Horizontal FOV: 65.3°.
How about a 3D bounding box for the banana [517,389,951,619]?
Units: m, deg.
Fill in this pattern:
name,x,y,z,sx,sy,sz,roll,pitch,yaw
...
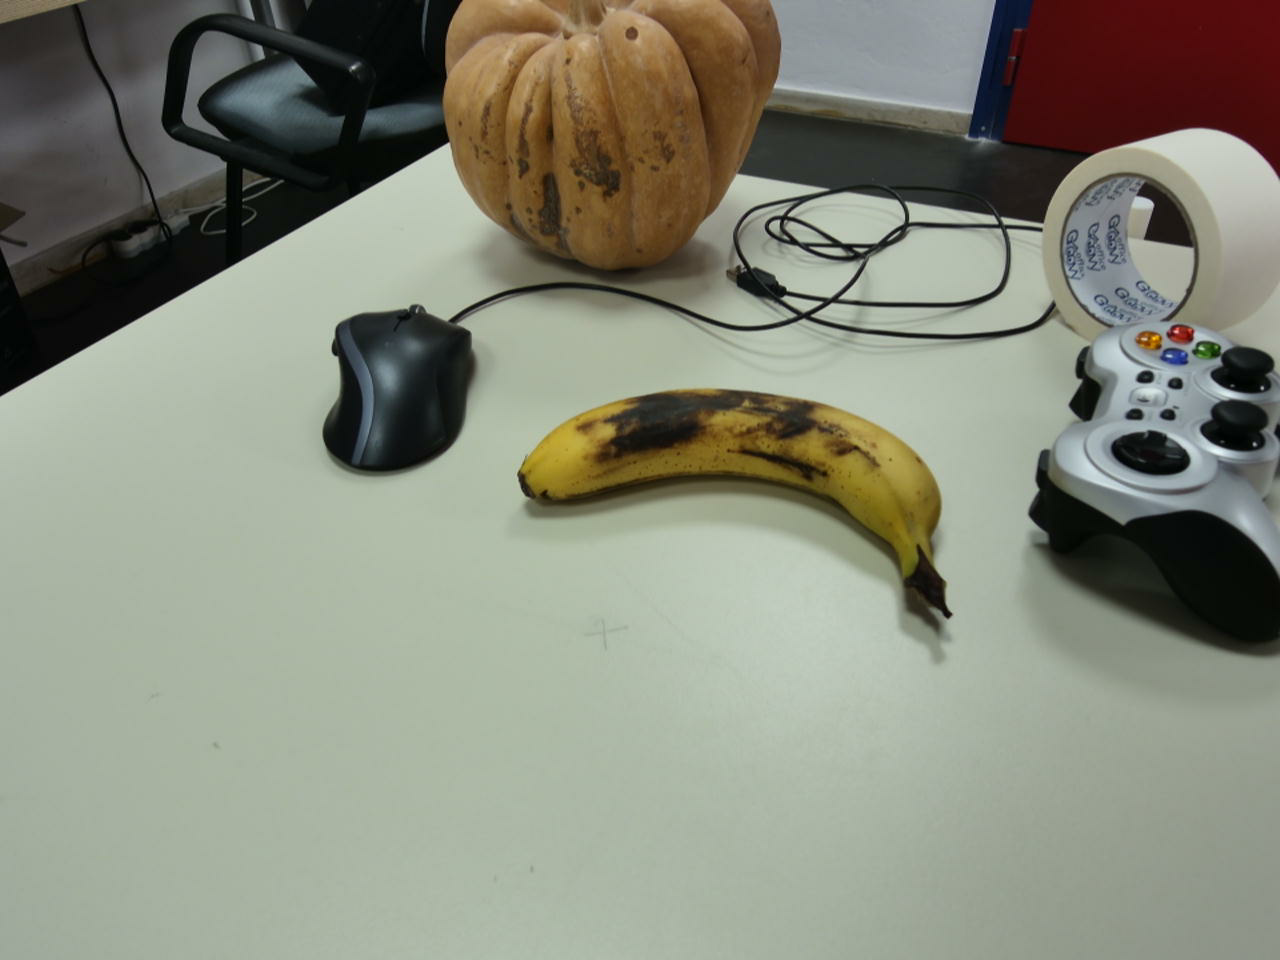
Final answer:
name,x,y,z,sx,sy,sz,roll,pitch,yaw
banana,0.048,-0.004,0.431,0.187,0.039,0.094,16,40,20
